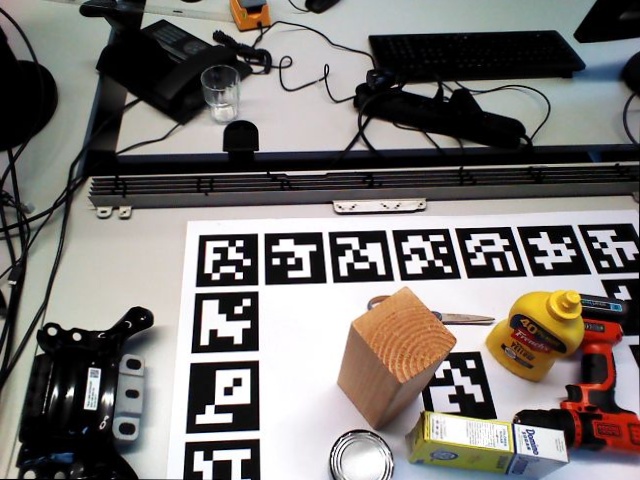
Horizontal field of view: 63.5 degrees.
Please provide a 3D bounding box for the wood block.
[{"bbox_3d":[0.101,0.155,0.661,0.090,0.207,0.090,-27,64,-18],"label":"wood block"}]

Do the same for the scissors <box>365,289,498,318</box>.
[{"bbox_3d":[0.172,0.115,0.789,0.203,0.016,0.087,0,54,-2],"label":"scissors"}]

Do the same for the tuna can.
[{"bbox_3d":[0.063,0.286,0.663,0.086,0.034,0.085,1,58,-2],"label":"tuna can"}]

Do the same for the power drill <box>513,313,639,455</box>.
[{"bbox_3d":[0.366,0.194,0.723,0.185,0.057,0.186,10,65,4],"label":"power drill"}]

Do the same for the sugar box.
[{"bbox_3d":[0.229,0.262,0.656,0.177,0.093,0.045,9,54,2],"label":"sugar box"}]

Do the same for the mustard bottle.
[{"bbox_3d":[0.318,0.121,0.698,0.058,0.192,0.096,-39,68,-22],"label":"mustard bottle"}]
